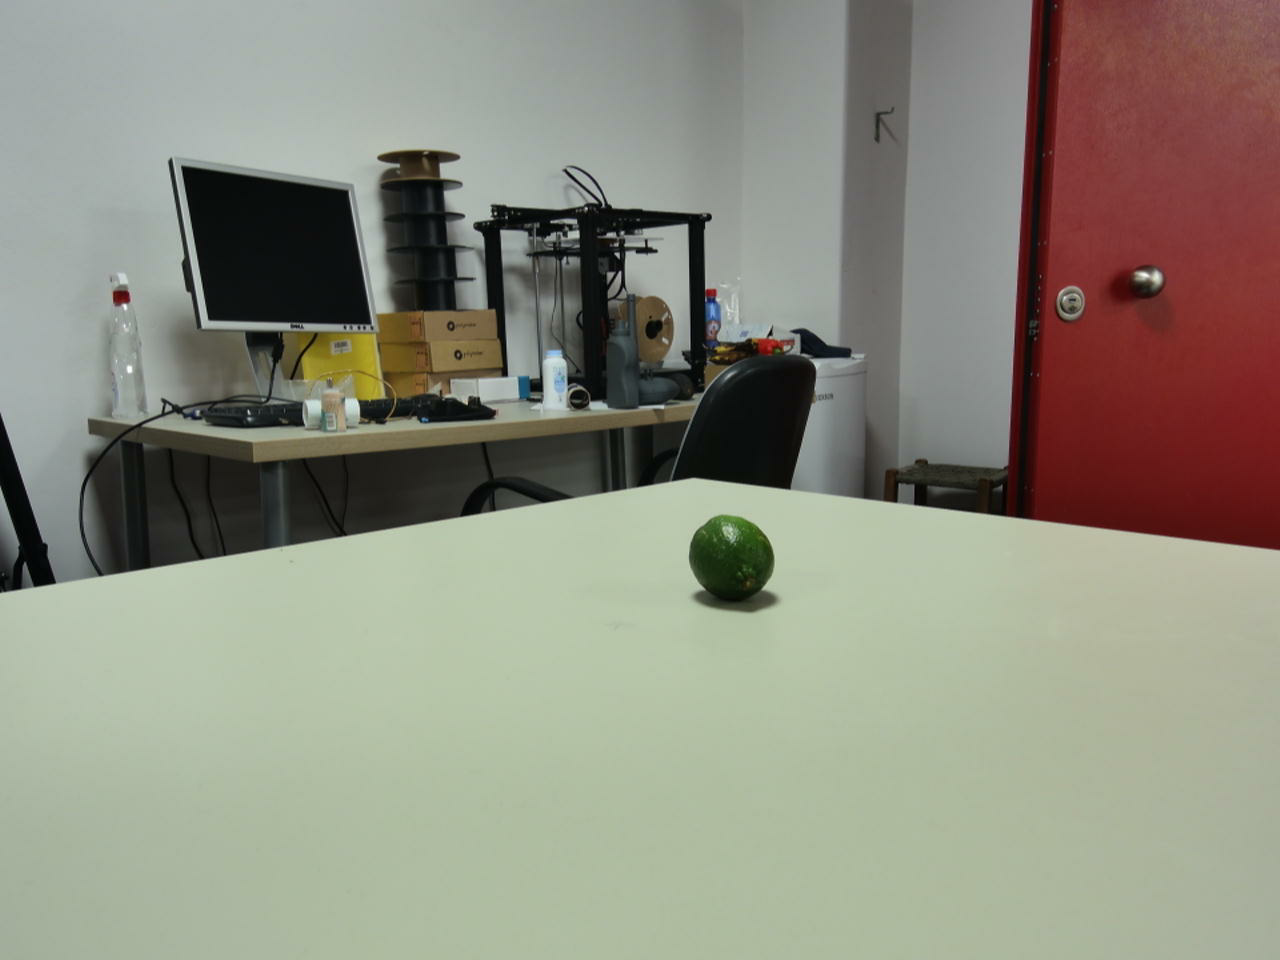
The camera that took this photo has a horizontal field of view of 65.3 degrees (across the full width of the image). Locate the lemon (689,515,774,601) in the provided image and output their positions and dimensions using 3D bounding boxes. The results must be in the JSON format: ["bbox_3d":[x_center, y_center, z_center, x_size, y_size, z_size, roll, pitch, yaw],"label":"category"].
[{"bbox_3d":[0.058,0.048,0.626,0.057,0.051,0.054,7,9,43],"label":"lemon"}]
